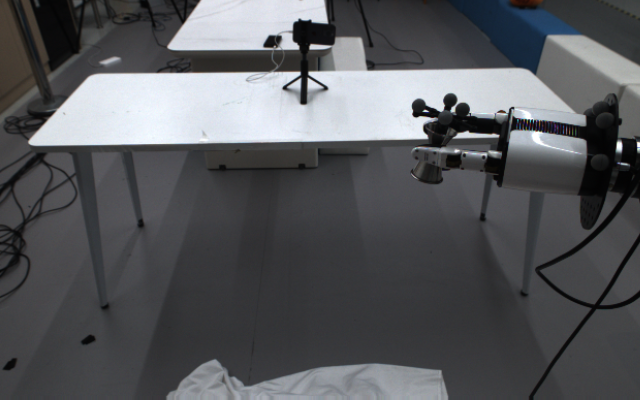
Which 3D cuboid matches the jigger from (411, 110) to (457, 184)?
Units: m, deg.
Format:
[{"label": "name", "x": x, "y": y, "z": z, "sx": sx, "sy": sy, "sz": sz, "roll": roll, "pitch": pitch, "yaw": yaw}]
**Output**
[{"label": "jigger", "x": 0.146, "y": -0.060, "z": 0.628, "sx": 0.043, "sy": 0.071, "sz": 0.043, "roll": 9, "pitch": 30, "yaw": -5}]
